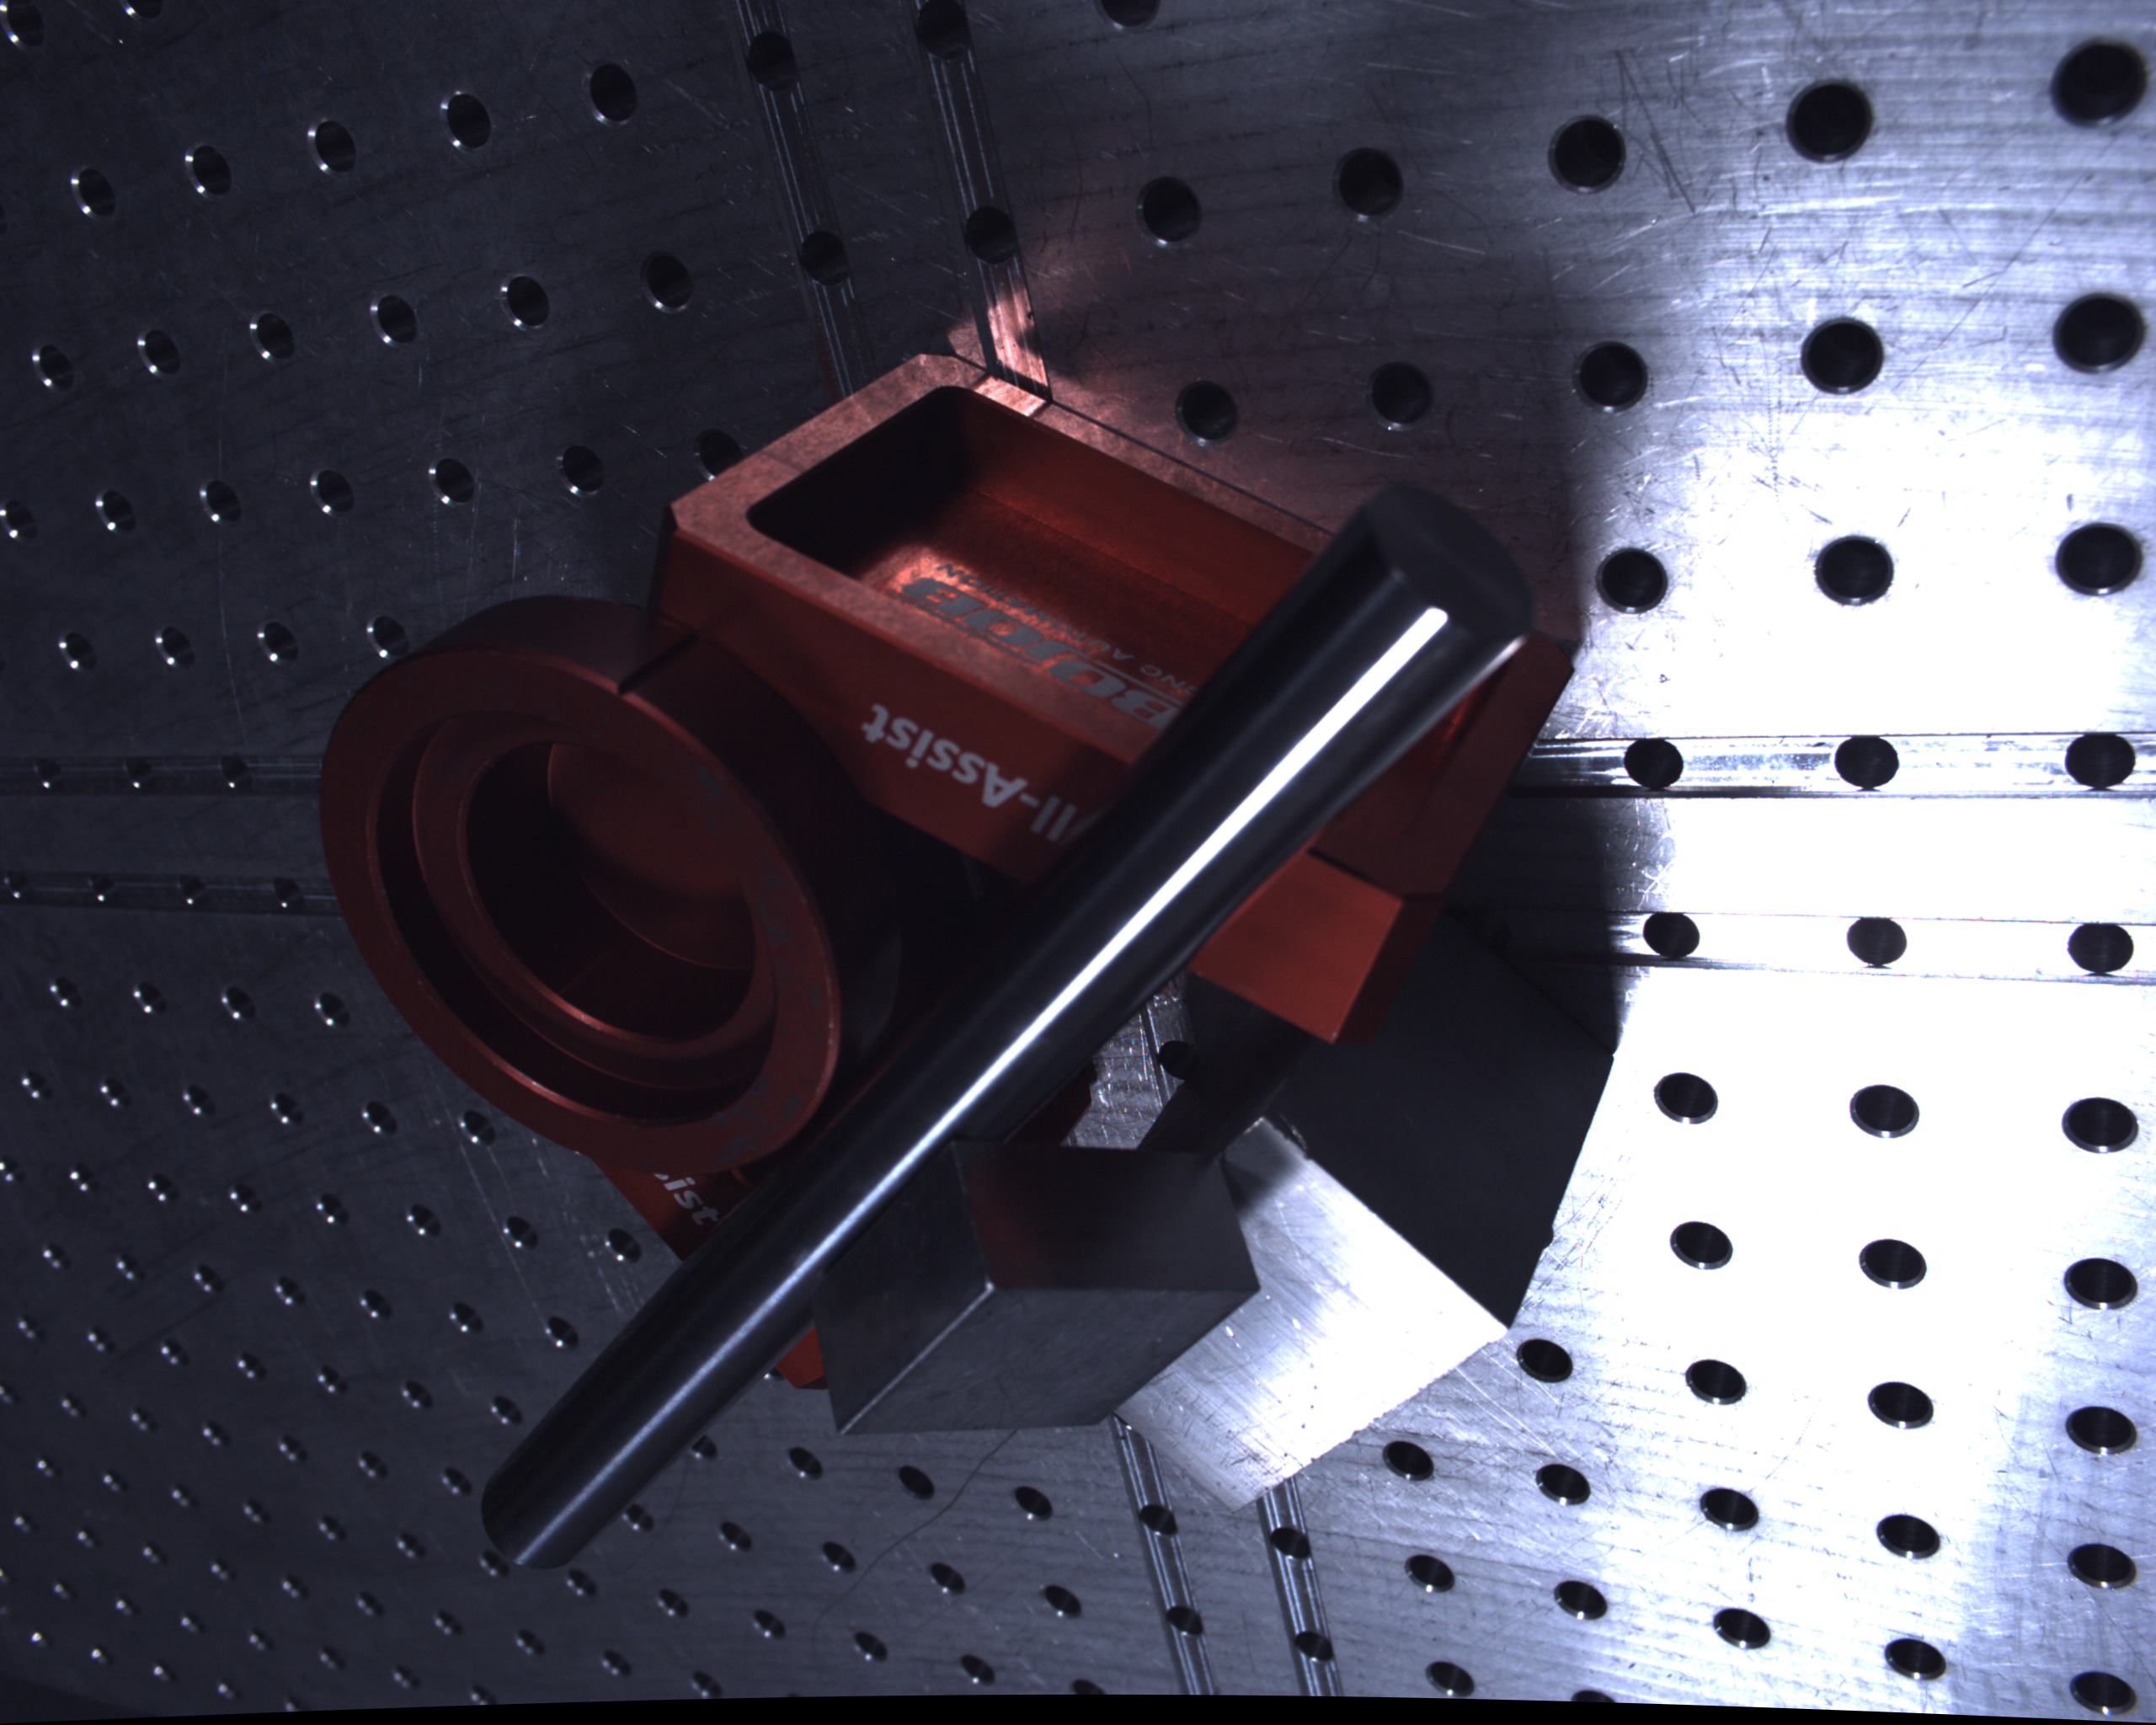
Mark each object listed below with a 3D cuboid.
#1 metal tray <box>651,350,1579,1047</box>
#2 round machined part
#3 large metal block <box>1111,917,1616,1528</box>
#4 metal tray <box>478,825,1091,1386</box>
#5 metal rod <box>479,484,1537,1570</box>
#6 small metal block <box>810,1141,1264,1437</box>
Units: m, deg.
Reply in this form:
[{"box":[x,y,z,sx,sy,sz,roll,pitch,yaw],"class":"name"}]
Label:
[{"box":[0.008,-0.033,0.343,0.130,0.090,0.030,28,129,10],"class":"metal tray"},{"box":[-0.072,0.000,0.347,0.098,0.042,0.097,13,124,20],"class":"round machined part"},{"box":[0.045,0.063,0.386,0.050,0.080,0.080,41,129,-1],"class":"large metal block"},{"box":[-0.064,0.027,0.417,0.030,0.090,0.130,-33,101,38],"class":"metal tray"},{"box":[-0.034,0.050,0.341,0.025,0.025,0.298,42,129,-1],"class":"metal rod"},{"box":[-0.008,0.069,0.335,0.050,0.050,0.025,-50,45,39],"class":"small metal block"}]
